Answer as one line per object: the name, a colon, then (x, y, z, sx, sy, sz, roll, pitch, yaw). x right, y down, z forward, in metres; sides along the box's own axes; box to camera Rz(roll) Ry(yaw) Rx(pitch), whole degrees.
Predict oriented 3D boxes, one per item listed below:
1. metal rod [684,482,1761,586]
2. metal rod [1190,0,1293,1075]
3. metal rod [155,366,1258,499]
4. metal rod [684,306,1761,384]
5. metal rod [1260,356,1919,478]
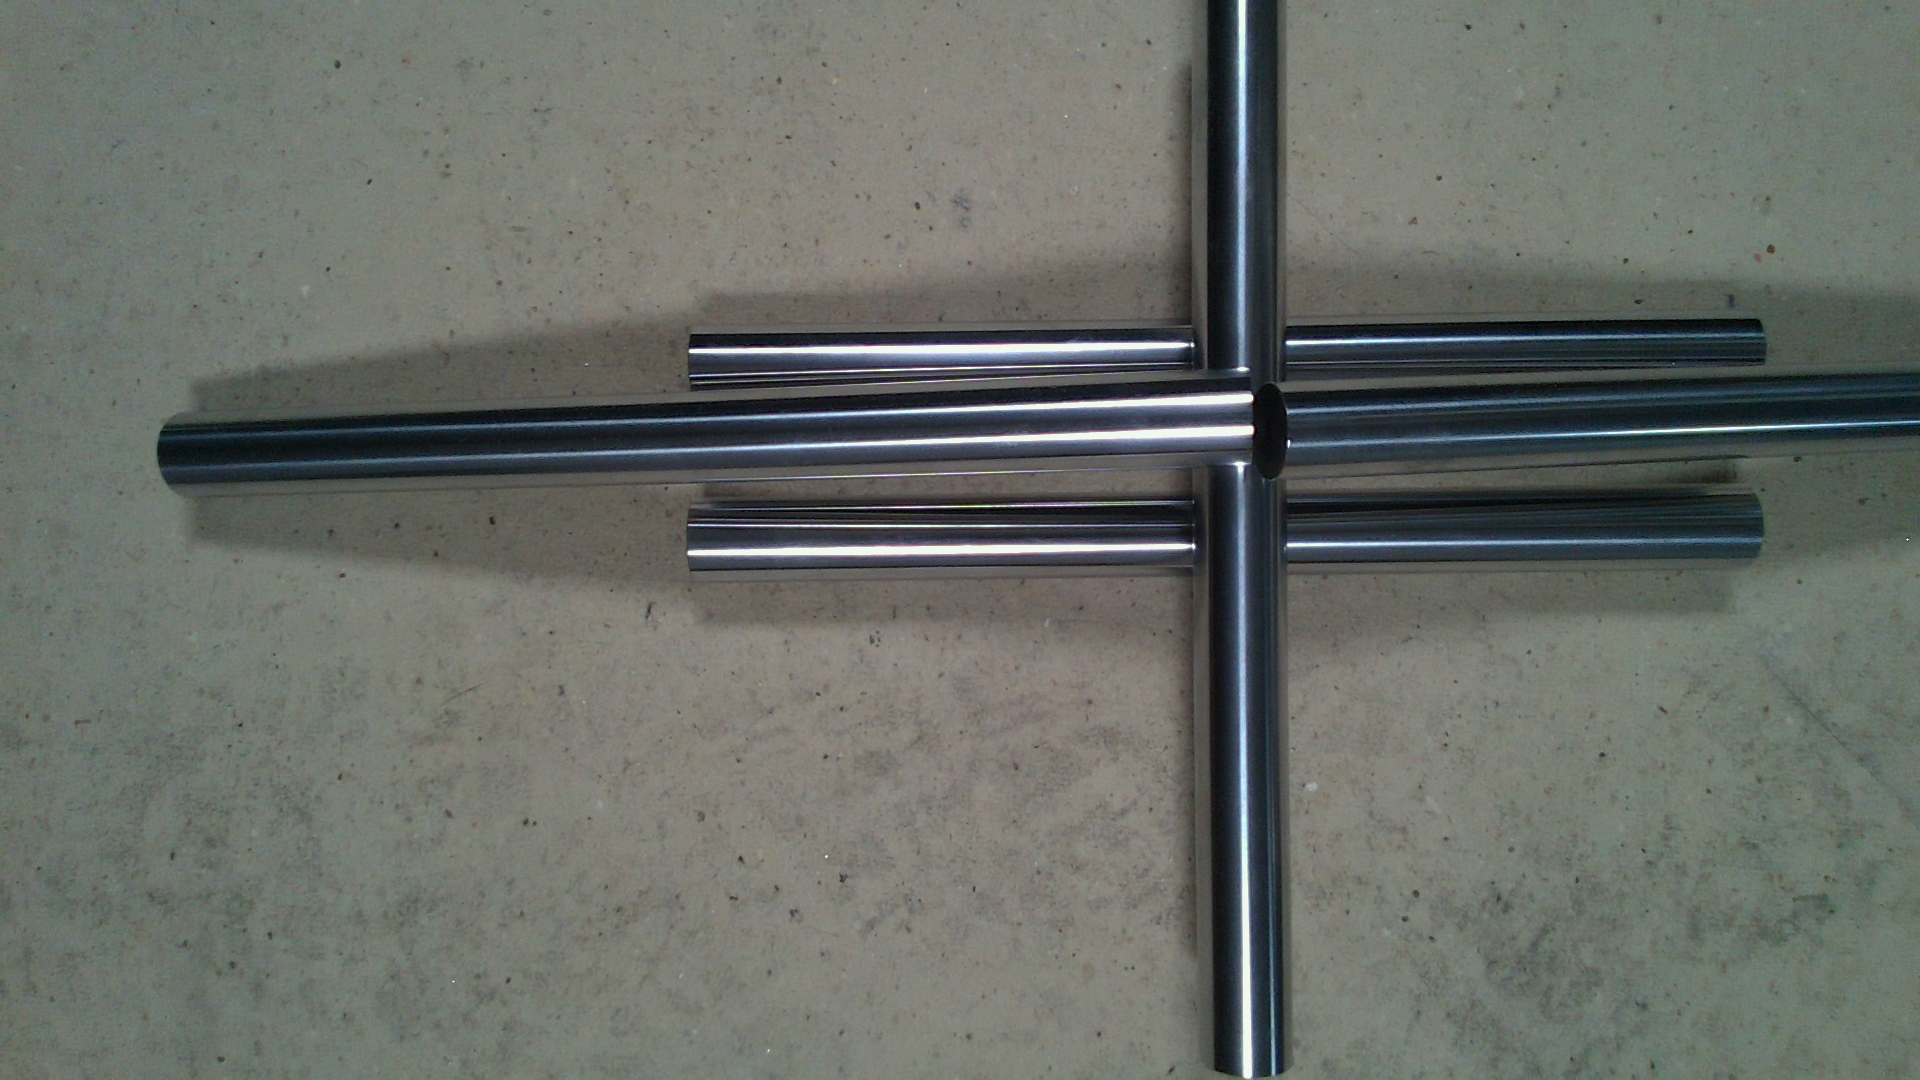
metal rod: (0.073, -0.002, 0.395, 0.300, 0.025, 0.025, -1, 90, 0)
metal rod: (0.076, -0.011, 0.371, 0.025, 0.025, 0.300, -1, 90, 0)
metal rod: (-0.074, -0.028, 0.370, 0.300, 0.025, 0.025, -1, 90, 9)
metal rod: (0.073, -0.052, 0.395, 0.300, 0.025, 0.025, -1, 90, 0)
metal rod: (0.225, -0.036, 0.371, 0.300, 0.025, 0.025, -3, 90, -10)
